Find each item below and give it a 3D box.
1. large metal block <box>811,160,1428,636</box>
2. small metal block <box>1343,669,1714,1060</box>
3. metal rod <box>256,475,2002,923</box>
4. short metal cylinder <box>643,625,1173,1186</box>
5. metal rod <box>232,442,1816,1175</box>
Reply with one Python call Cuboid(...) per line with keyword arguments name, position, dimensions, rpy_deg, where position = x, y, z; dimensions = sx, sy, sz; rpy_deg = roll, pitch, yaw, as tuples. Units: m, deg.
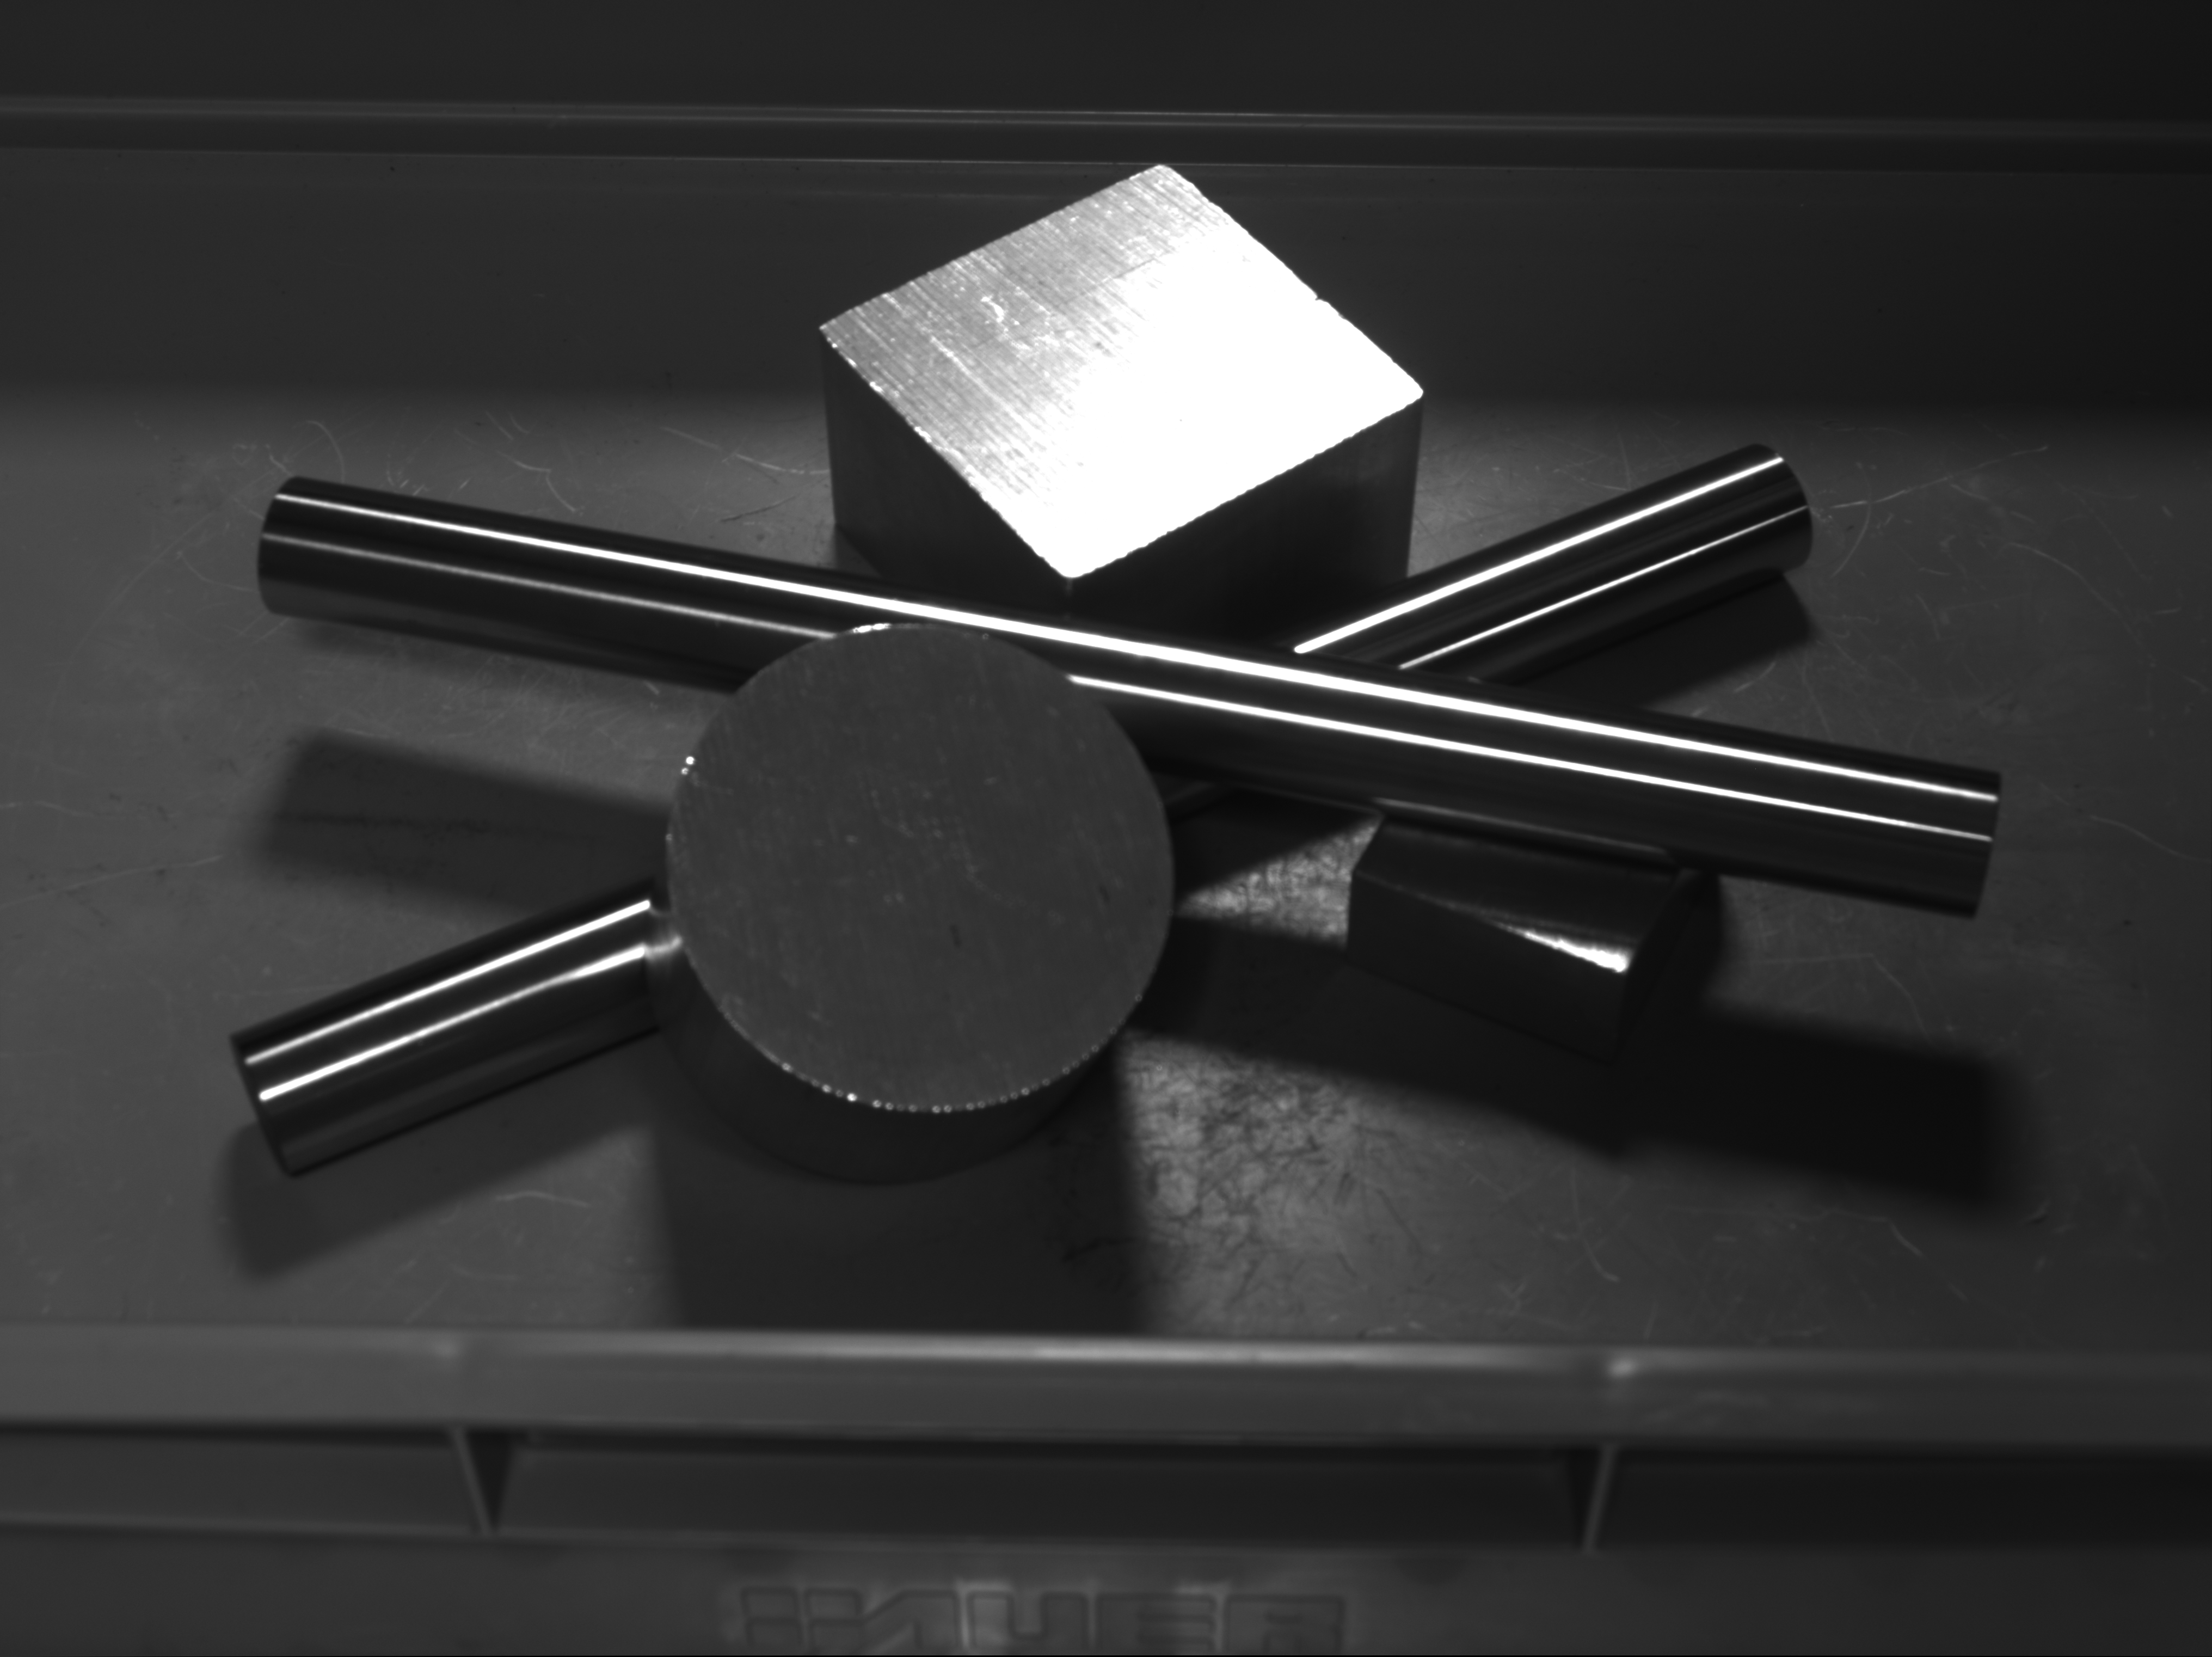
Cuboid(name="large metal block", position=(0.002, -0.069, 0.682), dimensions=(0.080, 0.050, 0.080), rpy_deg=(-29, 56, -22))
Cuboid(name="small metal block", position=(0.075, 0.006, 0.634), dimensions=(0.050, 0.025, 0.050), rpy_deg=(21, 53, 17))
Cuboid(name="metal rod", position=(0.000, -0.024, 0.628), dimensions=(0.300, 0.025, 0.025), rpy_deg=(10, 51, 9))
Cuboid(name="short metal cylinder", position=(-0.033, 0.013, 0.595), dimensions=(0.080, 0.050, 0.080), rpy_deg=(4, 71, -11))
Cuboid(name="metal rod", position=(-0.006, -0.008, 0.647), dimensions=(0.300, 0.025, 0.025), rpy_deg=(-22, 53, -17))
